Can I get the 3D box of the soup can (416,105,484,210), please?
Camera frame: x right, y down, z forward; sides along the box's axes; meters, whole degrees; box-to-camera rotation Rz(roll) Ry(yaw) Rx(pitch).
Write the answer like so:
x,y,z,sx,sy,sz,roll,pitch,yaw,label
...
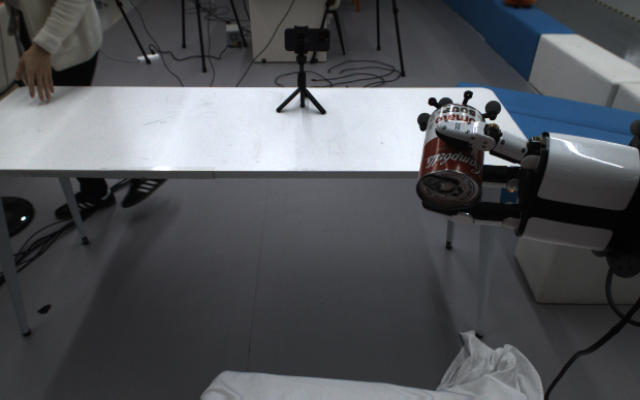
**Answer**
x,y,z,sx,sy,sz,roll,pitch,yaw,label
0.148,-0.050,0.538,0.067,0.067,0.101,9,56,10,soup can
